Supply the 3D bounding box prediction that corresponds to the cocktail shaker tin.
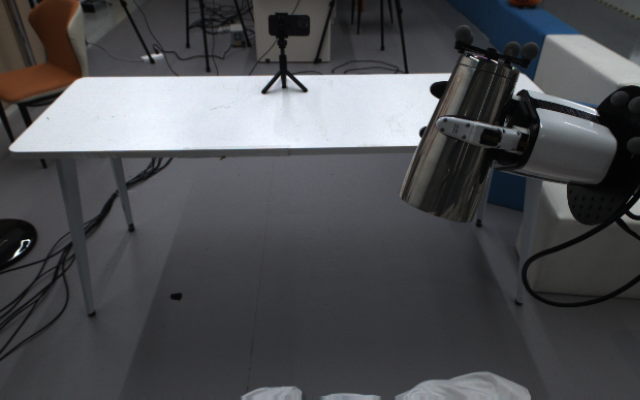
[{"bbox_3d":[0.161,-0.072,0.548,0.093,0.170,0.093,15,17,-5],"label":"cocktail shaker tin"}]
